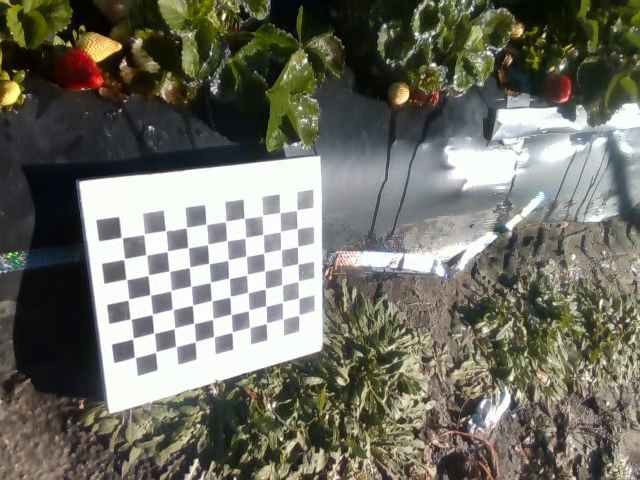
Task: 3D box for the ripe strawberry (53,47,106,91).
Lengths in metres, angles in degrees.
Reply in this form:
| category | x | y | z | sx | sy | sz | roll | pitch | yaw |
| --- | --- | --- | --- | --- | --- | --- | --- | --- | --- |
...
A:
| category | x | y | z | sx | sy | sz | roll | pitch | yaw |
| --- | --- | --- | --- | --- | --- | --- | --- | --- | --- |
| ripe strawberry | -0.212 | -0.149 | 0.547 | 0.053 | 0.040 | 0.042 | 32 | -20 | 28 |
